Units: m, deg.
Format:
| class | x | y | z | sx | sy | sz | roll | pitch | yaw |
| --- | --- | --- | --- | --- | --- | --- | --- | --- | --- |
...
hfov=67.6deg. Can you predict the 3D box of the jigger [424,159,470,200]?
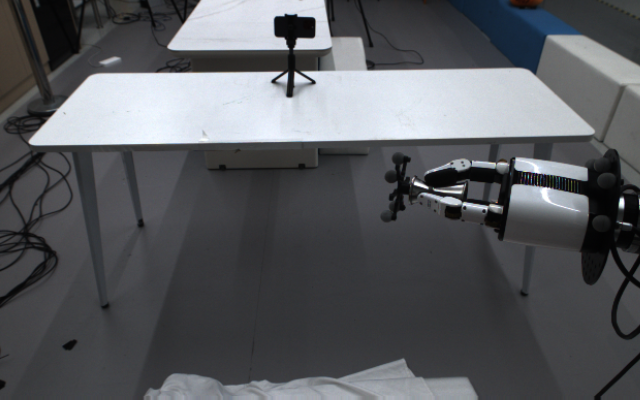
| class | x | y | z | sx | sy | sz | roll | pitch | yaw |
| --- | --- | --- | --- | --- | --- | --- | --- | --- | --- |
| jigger | 0.159 | -0.011 | 0.628 | 0.071 | 0.043 | 0.043 | 10 | 35 | 22 |
